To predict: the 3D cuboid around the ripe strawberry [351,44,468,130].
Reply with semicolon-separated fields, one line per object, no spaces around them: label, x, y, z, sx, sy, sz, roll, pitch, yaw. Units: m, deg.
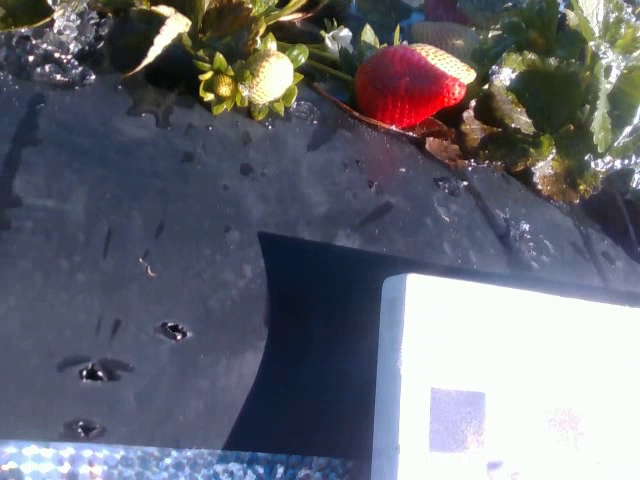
ripe strawberry;0.039;-0.064;0.258;0.040;0.042;0.053;-29;29;-27
